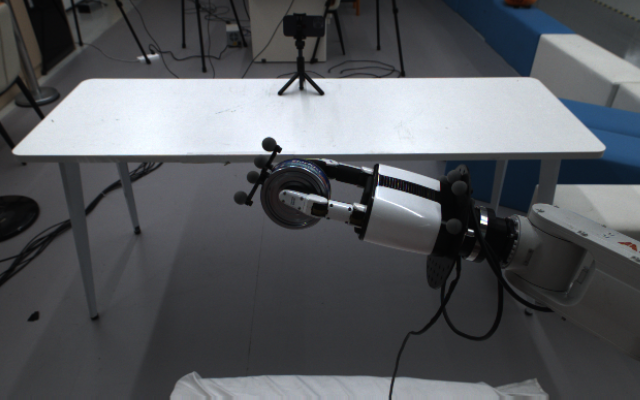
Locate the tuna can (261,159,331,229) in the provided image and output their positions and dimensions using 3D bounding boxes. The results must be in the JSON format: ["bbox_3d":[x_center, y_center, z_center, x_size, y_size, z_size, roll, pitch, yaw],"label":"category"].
[{"bbox_3d":[-0.026,-0.004,0.603,0.085,0.085,0.034,3,21,1],"label":"tuna can"}]
